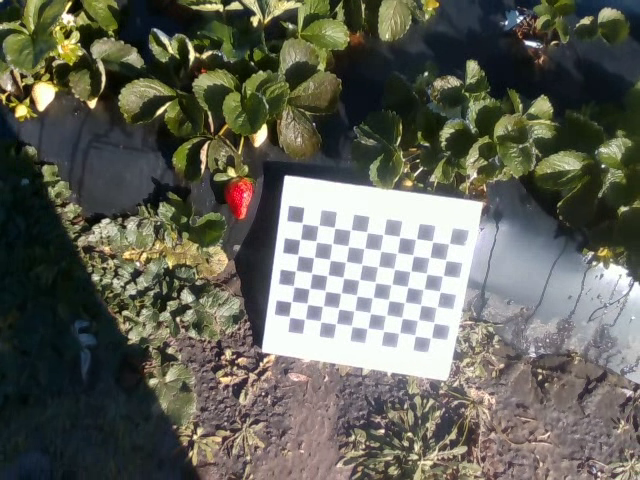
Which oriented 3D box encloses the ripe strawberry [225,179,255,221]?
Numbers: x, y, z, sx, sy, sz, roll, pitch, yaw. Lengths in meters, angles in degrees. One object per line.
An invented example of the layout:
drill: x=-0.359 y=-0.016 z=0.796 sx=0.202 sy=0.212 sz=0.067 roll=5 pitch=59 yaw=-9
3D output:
ripe strawberry: x=-0.120 y=-0.059 z=0.839 sx=0.048 sy=0.068 sz=0.040 roll=-9 pitch=3 yaw=6
